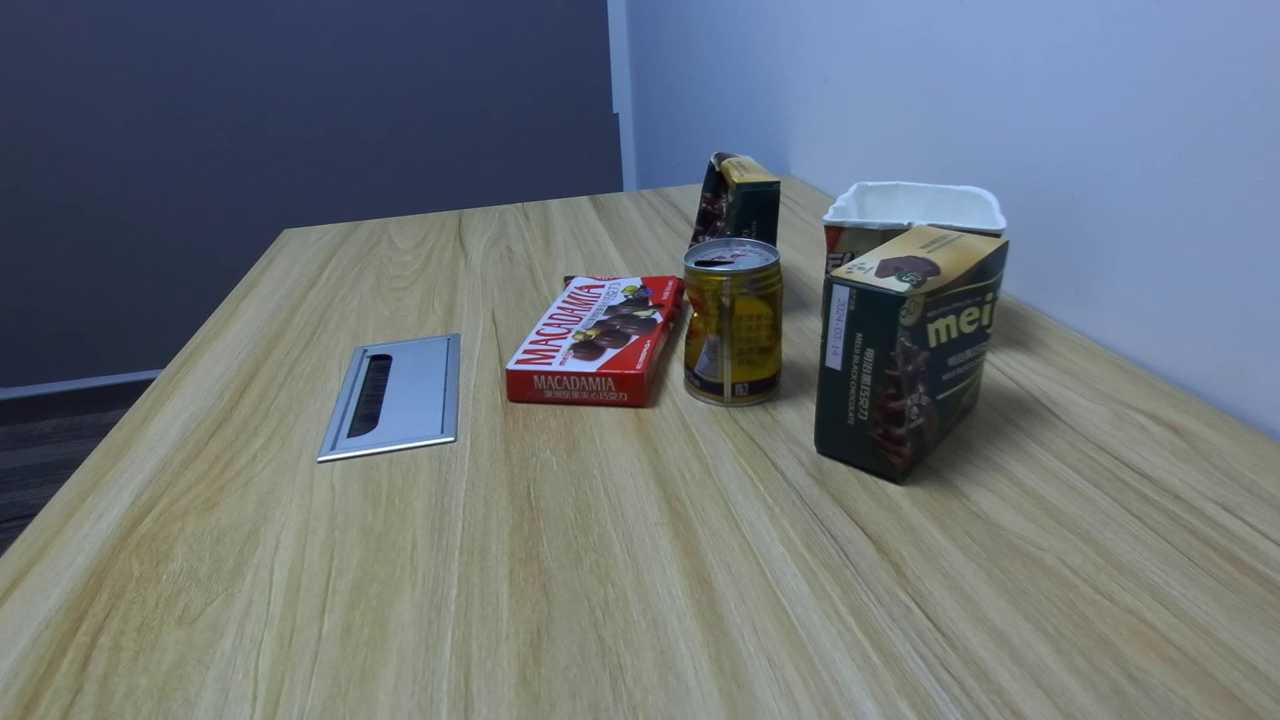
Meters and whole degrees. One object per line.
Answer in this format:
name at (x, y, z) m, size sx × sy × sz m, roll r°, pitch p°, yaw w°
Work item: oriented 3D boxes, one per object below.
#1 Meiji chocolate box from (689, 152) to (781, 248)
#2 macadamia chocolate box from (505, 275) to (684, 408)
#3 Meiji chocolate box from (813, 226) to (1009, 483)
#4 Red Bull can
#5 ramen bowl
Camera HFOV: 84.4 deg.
Meiji chocolate box at (0.078, -0.104, 0.582) m, size 0.052 × 0.117 × 0.117 m, roll 0°, pitch 27°, yaw -10°
macadamia chocolate box at (-0.026, -0.023, 0.535) m, size 0.105 × 0.028 × 0.183 m, roll 2°, pitch 27°, yaw 9°
Meiji chocolate box at (0.151, -0.007, 0.390) m, size 0.058 × 0.111 × 0.113 m, roll 22°, pitch 36°, yaw 39°
Red Bull can at (0.060, -0.025, 0.454) m, size 0.072 × 0.092 × 0.072 m, roll -3°, pitch 29°, yaw 2°
ramen bowl at (0.196, -0.077, 0.533) m, size 0.113 × 0.098 × 0.134 m, roll 2°, pitch 28°, yaw 13°
